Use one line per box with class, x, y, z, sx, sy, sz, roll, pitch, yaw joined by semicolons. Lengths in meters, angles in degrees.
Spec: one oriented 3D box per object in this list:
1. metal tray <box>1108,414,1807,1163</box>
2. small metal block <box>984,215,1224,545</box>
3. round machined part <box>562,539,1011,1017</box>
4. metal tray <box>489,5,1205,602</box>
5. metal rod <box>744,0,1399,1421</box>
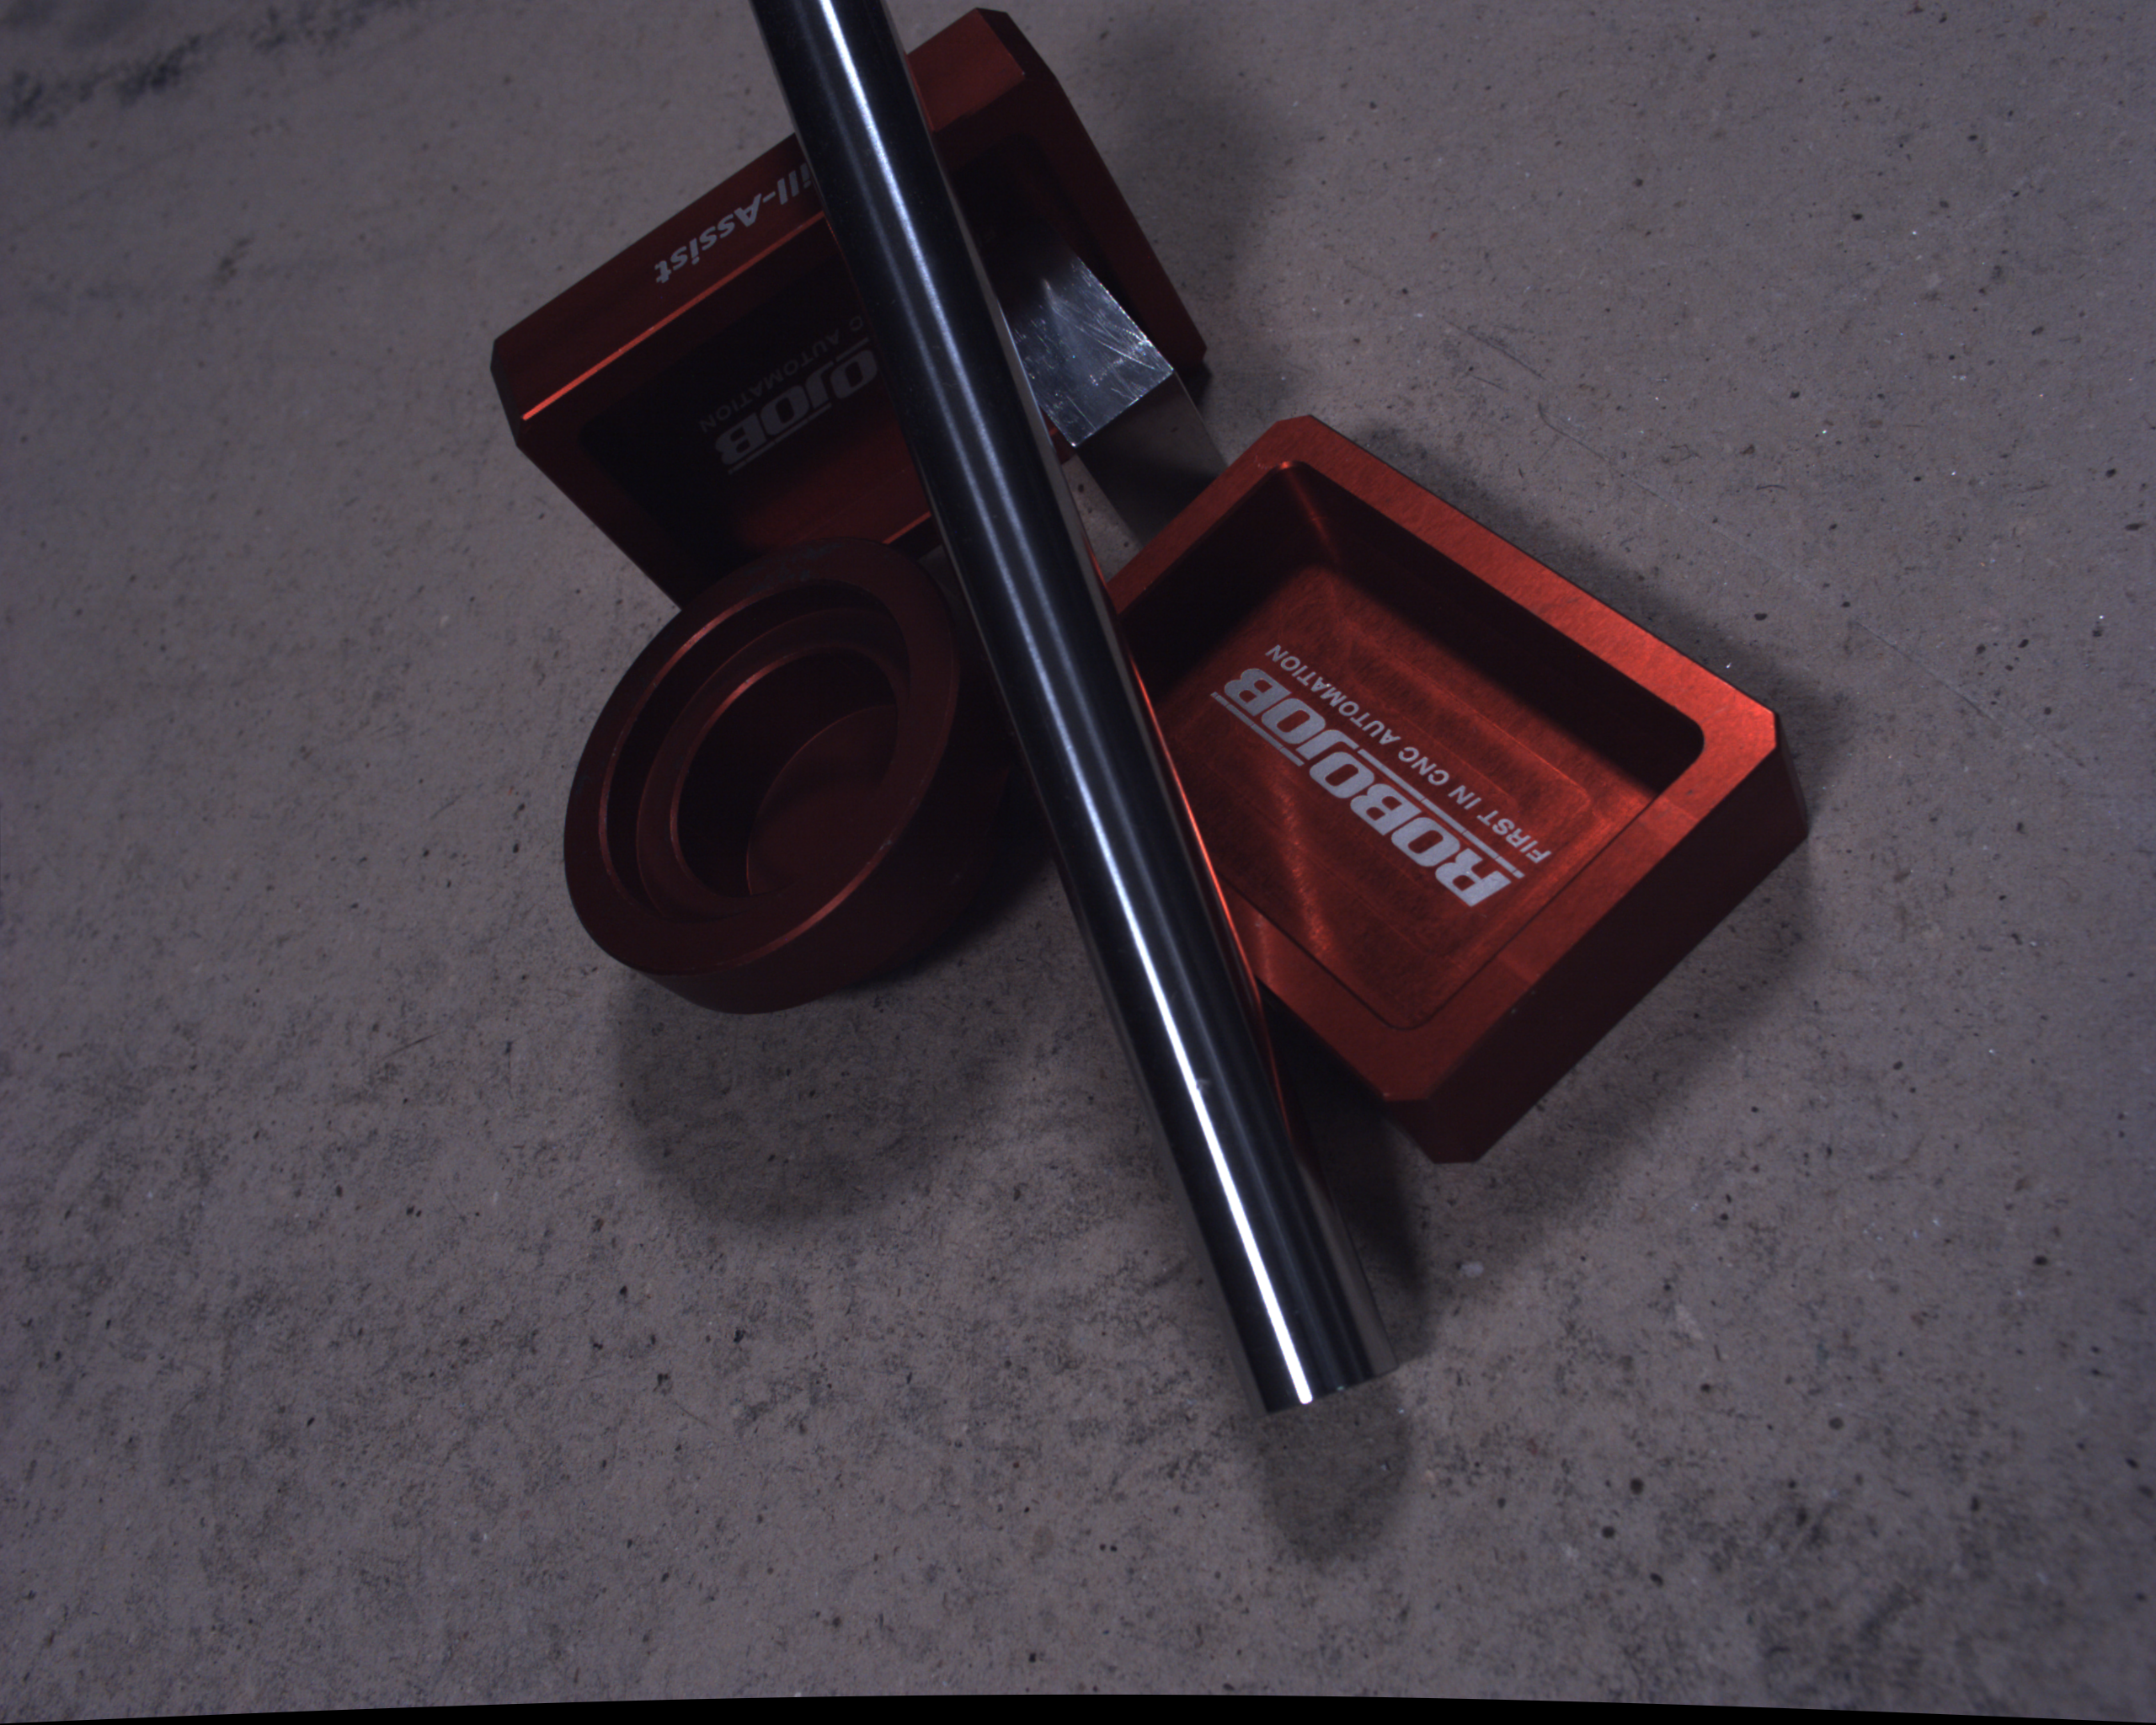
metal tray;0.053;-0.019;0.385;0.090;0.030;0.130;-44;51;-3
small metal block;0.004;-0.100;0.441;0.025;0.050;0.050;-38;66;5
round machined part;-0.054;-0.014;0.425;0.098;0.042;0.098;-16;57;26
metal tray;-0.048;-0.110;0.454;0.130;0.090;0.030;-33;52;7
metal rod;-0.010;-0.051;0.372;0.025;0.025;0.299;-23;75;14
